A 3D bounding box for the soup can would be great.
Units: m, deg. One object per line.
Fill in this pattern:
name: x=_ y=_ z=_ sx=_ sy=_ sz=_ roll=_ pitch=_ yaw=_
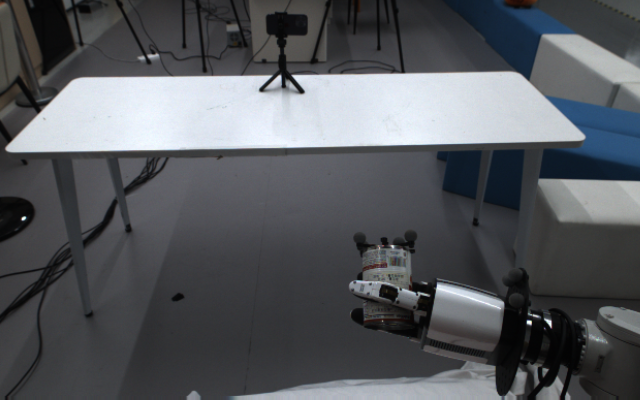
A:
soup can: x=0.092 y=0.118 z=0.645 sx=0.067 sy=0.067 sz=0.101 roll=1 pitch=68 yaw=-1
